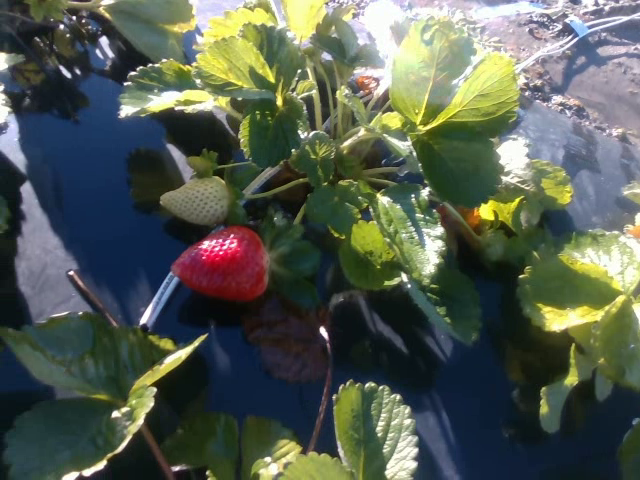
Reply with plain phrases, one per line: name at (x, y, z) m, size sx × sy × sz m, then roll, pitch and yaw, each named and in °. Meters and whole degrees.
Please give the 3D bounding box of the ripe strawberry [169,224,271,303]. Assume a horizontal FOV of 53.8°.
ripe strawberry at (-0.057, 0.015, 0.389) m, size 0.080 × 0.063 × 0.040 m, roll -5°, pitch -5°, yaw -36°
